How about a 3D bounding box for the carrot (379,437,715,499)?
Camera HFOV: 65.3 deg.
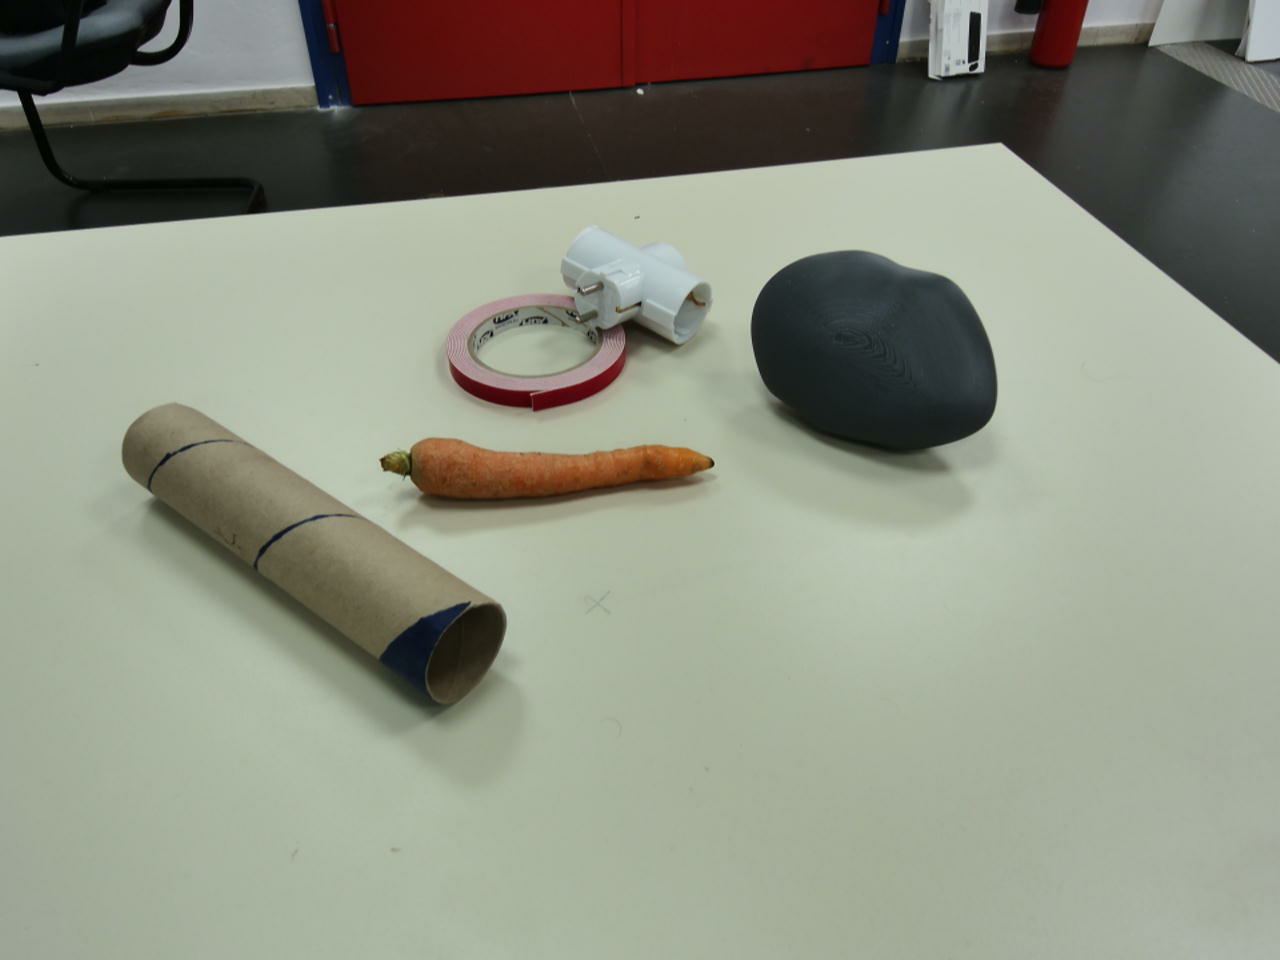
[{"bbox_3d":[-0.046,-0.008,0.517,0.173,0.032,0.030,-2,39,-3],"label":"carrot"}]
